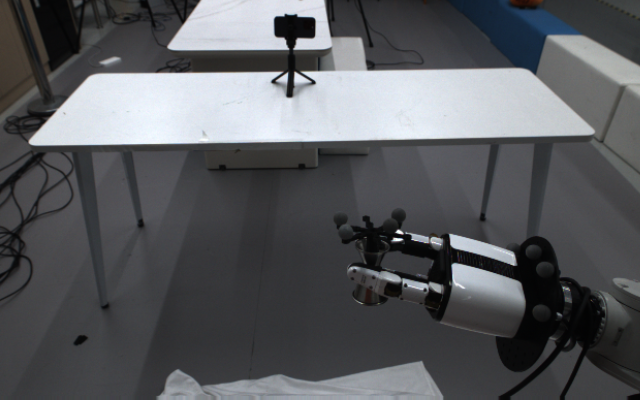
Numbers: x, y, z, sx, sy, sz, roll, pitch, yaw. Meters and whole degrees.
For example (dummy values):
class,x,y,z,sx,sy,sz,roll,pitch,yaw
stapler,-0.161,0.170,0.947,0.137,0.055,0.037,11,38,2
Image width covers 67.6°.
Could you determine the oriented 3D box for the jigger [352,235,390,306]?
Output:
class,x,y,z,sx,sy,sz,roll,pitch,yaw
jigger,0.060,0.084,0.573,0.043,0.071,0.043,0,21,0
